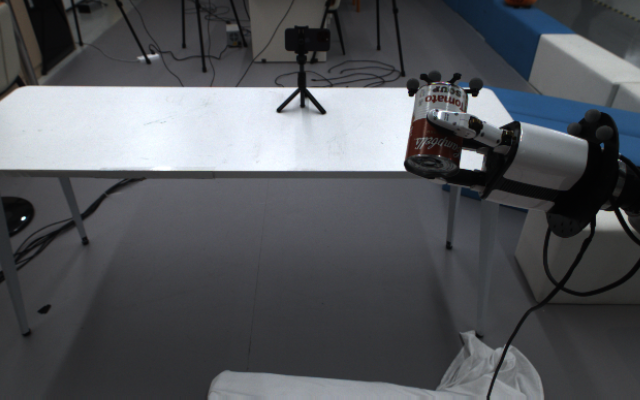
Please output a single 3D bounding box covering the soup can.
[{"bbox_3d":[0.148,-0.089,0.610,0.067,0.067,0.101,8,74,9],"label":"soup can"}]
